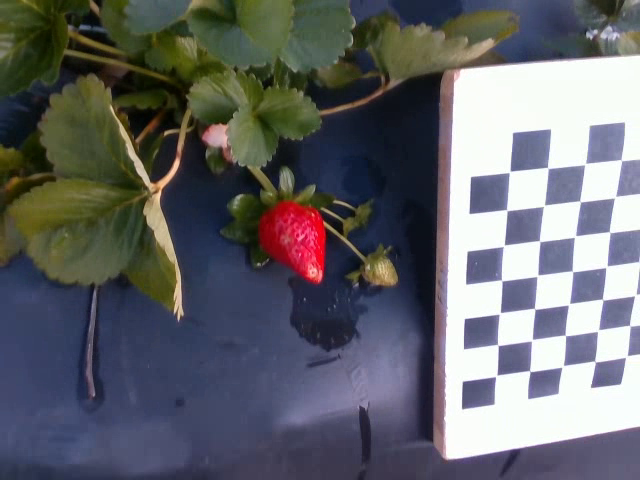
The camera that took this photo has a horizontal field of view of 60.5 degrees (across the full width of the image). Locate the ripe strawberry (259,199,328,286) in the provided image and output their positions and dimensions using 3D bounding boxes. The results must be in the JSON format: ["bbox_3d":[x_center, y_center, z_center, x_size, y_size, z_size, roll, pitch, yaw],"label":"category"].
[{"bbox_3d":[-0.011,0.005,0.334,0.043,0.057,0.052,-29,-40,6],"label":"ripe strawberry"}]
